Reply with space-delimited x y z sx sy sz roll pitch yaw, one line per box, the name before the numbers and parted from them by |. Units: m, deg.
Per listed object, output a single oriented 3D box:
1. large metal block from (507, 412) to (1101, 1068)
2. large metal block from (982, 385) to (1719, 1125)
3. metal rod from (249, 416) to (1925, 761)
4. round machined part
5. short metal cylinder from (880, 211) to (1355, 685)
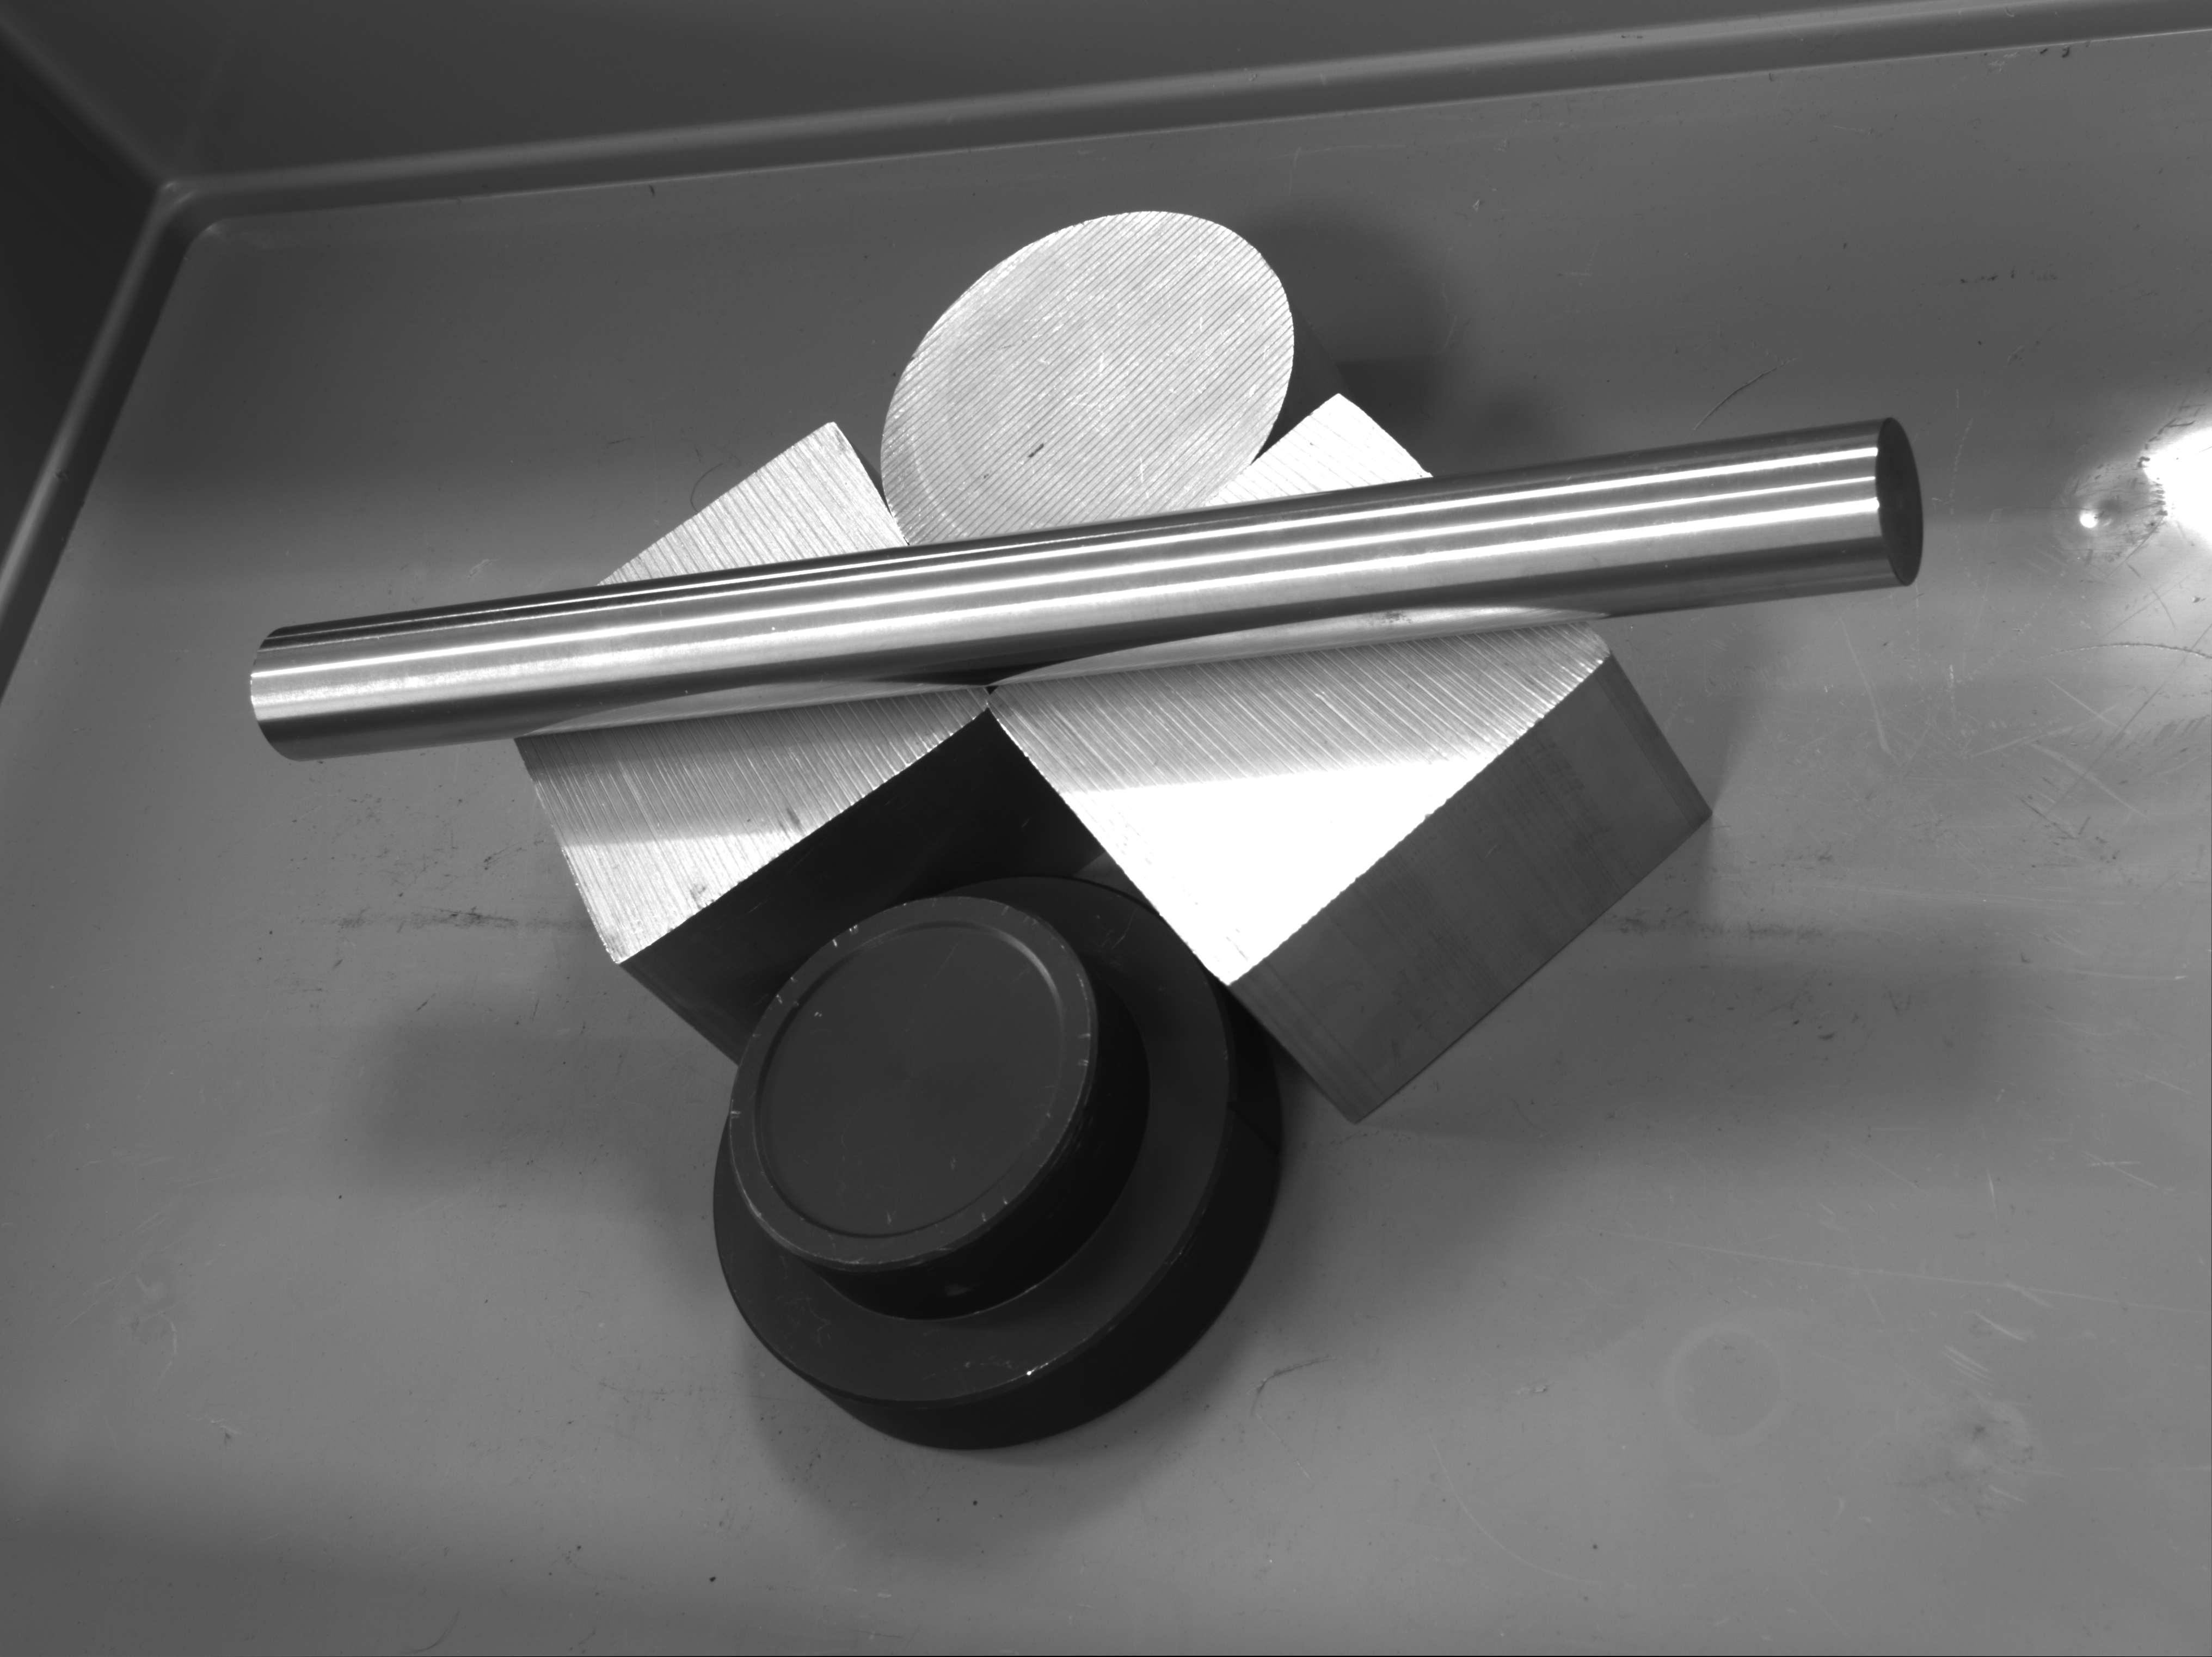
large metal block | -0.057 -0.014 0.667 0.080 0.050 0.080 -34 53 6
large metal block | 0.040 -0.013 0.611 0.080 0.050 0.080 -41 51 1
metal rod | -0.016 -0.036 0.608 0.299 0.025 0.025 -5 59 27
round machined part | -0.024 0.051 0.614 0.098 0.042 0.098 -14 56 21
short metal cylinder | 0.006 -0.064 0.664 0.080 0.050 0.080 -14 56 21
